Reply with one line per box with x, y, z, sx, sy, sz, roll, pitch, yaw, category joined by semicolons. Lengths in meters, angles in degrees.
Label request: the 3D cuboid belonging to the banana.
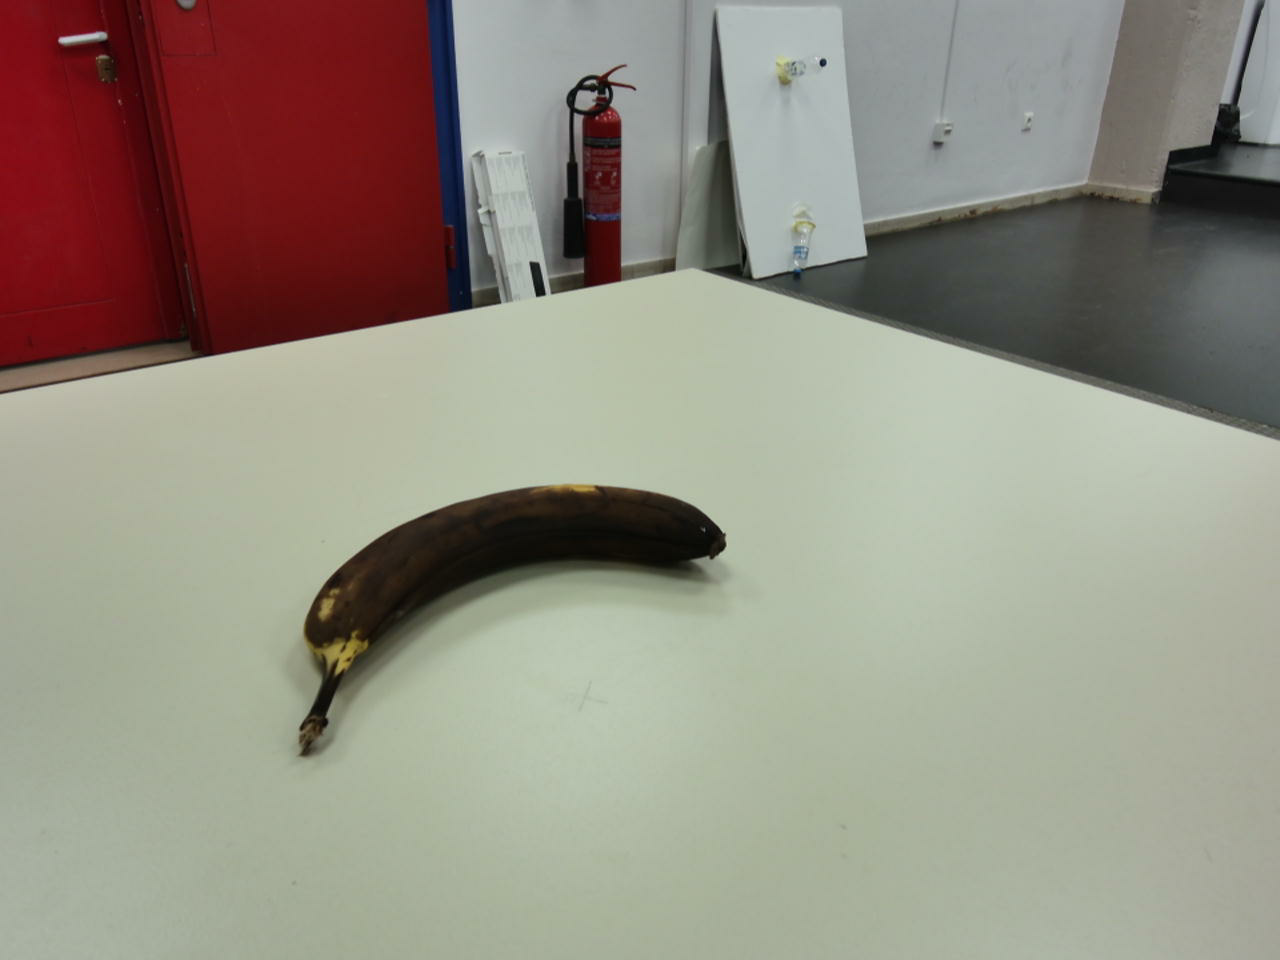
-0.060;0.034;0.396;0.188;0.034;0.091;-17;29;-34;banana
